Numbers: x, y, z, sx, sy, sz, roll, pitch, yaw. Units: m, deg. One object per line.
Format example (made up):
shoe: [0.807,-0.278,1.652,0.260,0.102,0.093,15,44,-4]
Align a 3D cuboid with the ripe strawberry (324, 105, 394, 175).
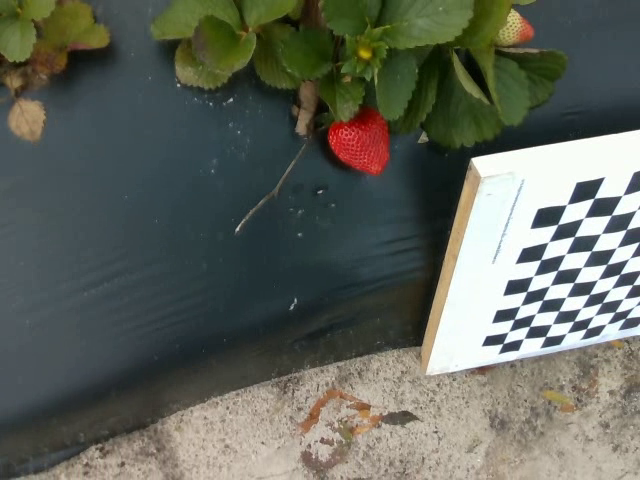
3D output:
ripe strawberry: [0.023,-0.055,0.380,0.037,0.046,0.036,-34,-2,30]
